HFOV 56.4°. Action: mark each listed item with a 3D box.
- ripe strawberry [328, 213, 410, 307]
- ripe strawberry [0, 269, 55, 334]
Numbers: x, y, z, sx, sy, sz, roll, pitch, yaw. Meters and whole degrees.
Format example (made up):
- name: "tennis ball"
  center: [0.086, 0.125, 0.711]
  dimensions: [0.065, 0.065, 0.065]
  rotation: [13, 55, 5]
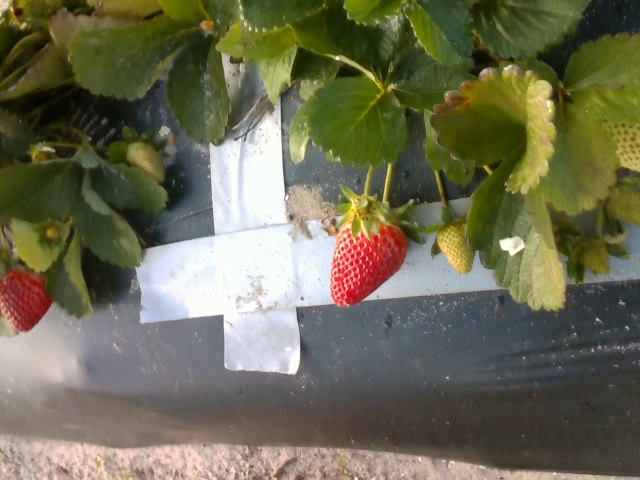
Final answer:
- name: "ripe strawberry"
  center: [0.011, 0.007, 0.148]
  dimensions: [0.023, 0.026, 0.021]
  rotation: [16, -8, 44]
- name: "ripe strawberry"
  center: [-0.097, 0.021, 0.197]
  dimensions: [0.021, 0.022, 0.018]
  rotation: [3, -9, -44]
